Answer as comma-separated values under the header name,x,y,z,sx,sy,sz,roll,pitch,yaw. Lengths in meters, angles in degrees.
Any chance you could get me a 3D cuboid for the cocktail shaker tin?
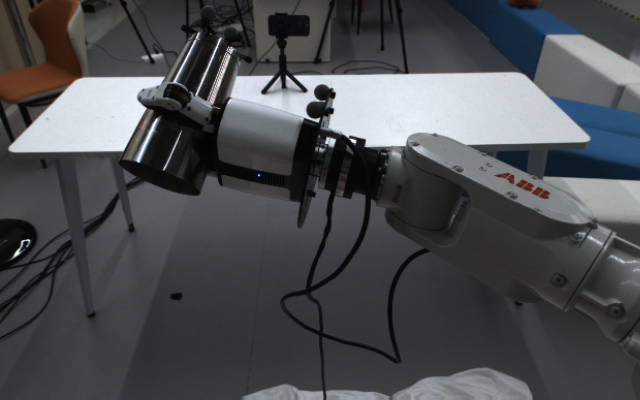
name,x,y,z,sx,sy,sz,roll,pitch,yaw
cocktail shaker tin,-0.149,-0.099,0.551,0.093,0.093,0.170,13,74,16
